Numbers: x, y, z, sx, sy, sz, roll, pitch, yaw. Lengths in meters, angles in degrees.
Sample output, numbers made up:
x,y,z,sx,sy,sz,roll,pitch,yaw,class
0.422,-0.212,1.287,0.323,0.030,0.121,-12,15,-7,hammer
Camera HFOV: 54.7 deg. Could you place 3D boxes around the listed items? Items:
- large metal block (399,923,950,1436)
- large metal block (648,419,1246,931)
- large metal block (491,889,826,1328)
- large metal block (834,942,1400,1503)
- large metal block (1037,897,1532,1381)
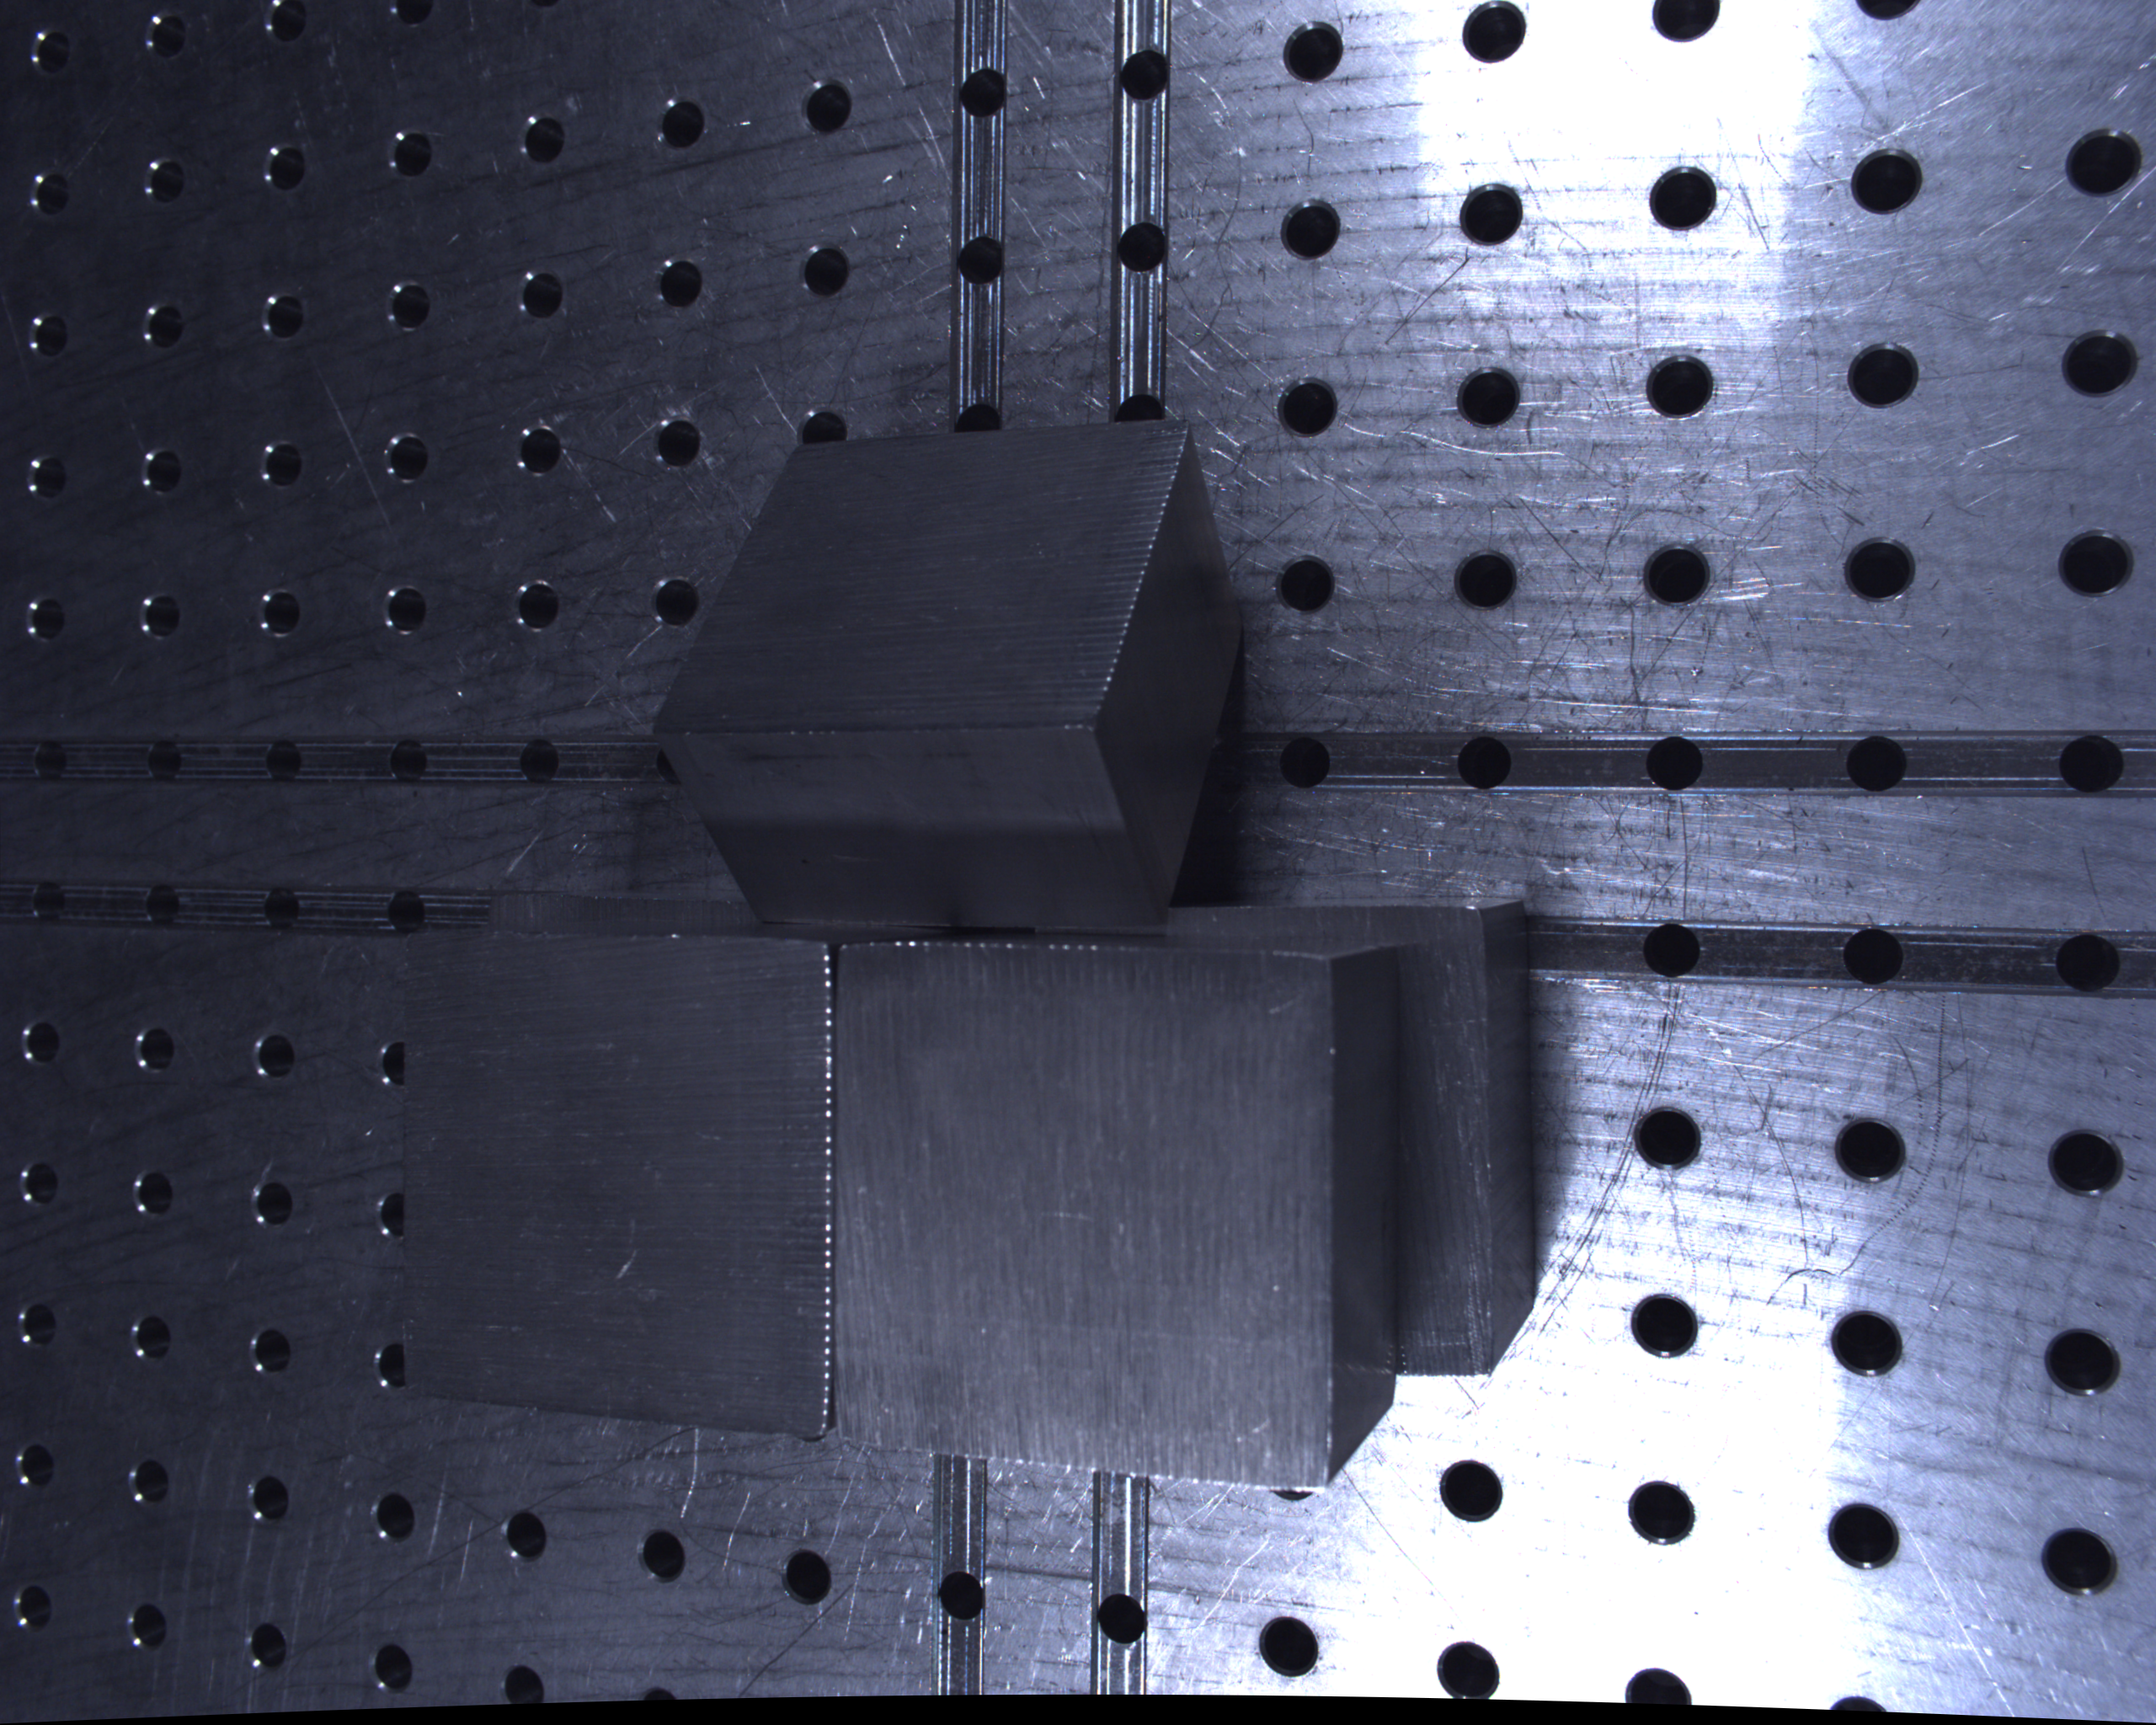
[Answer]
x,y,z,sx,sy,sz,roll,pitch,yaw,class
-0.069,0.051,0.366,0.080,0.050,0.079,0,90,19,large metal block
-0.020,-0.035,0.384,0.080,0.050,0.080,1,48,19,large metal block
-0.071,0.047,0.424,0.080,0.050,0.079,2,91,19,large metal block
0.008,0.053,0.341,0.080,0.050,0.079,0,90,19,large metal block
0.040,0.047,0.384,0.080,0.050,0.079,-1,90,19,large metal block
